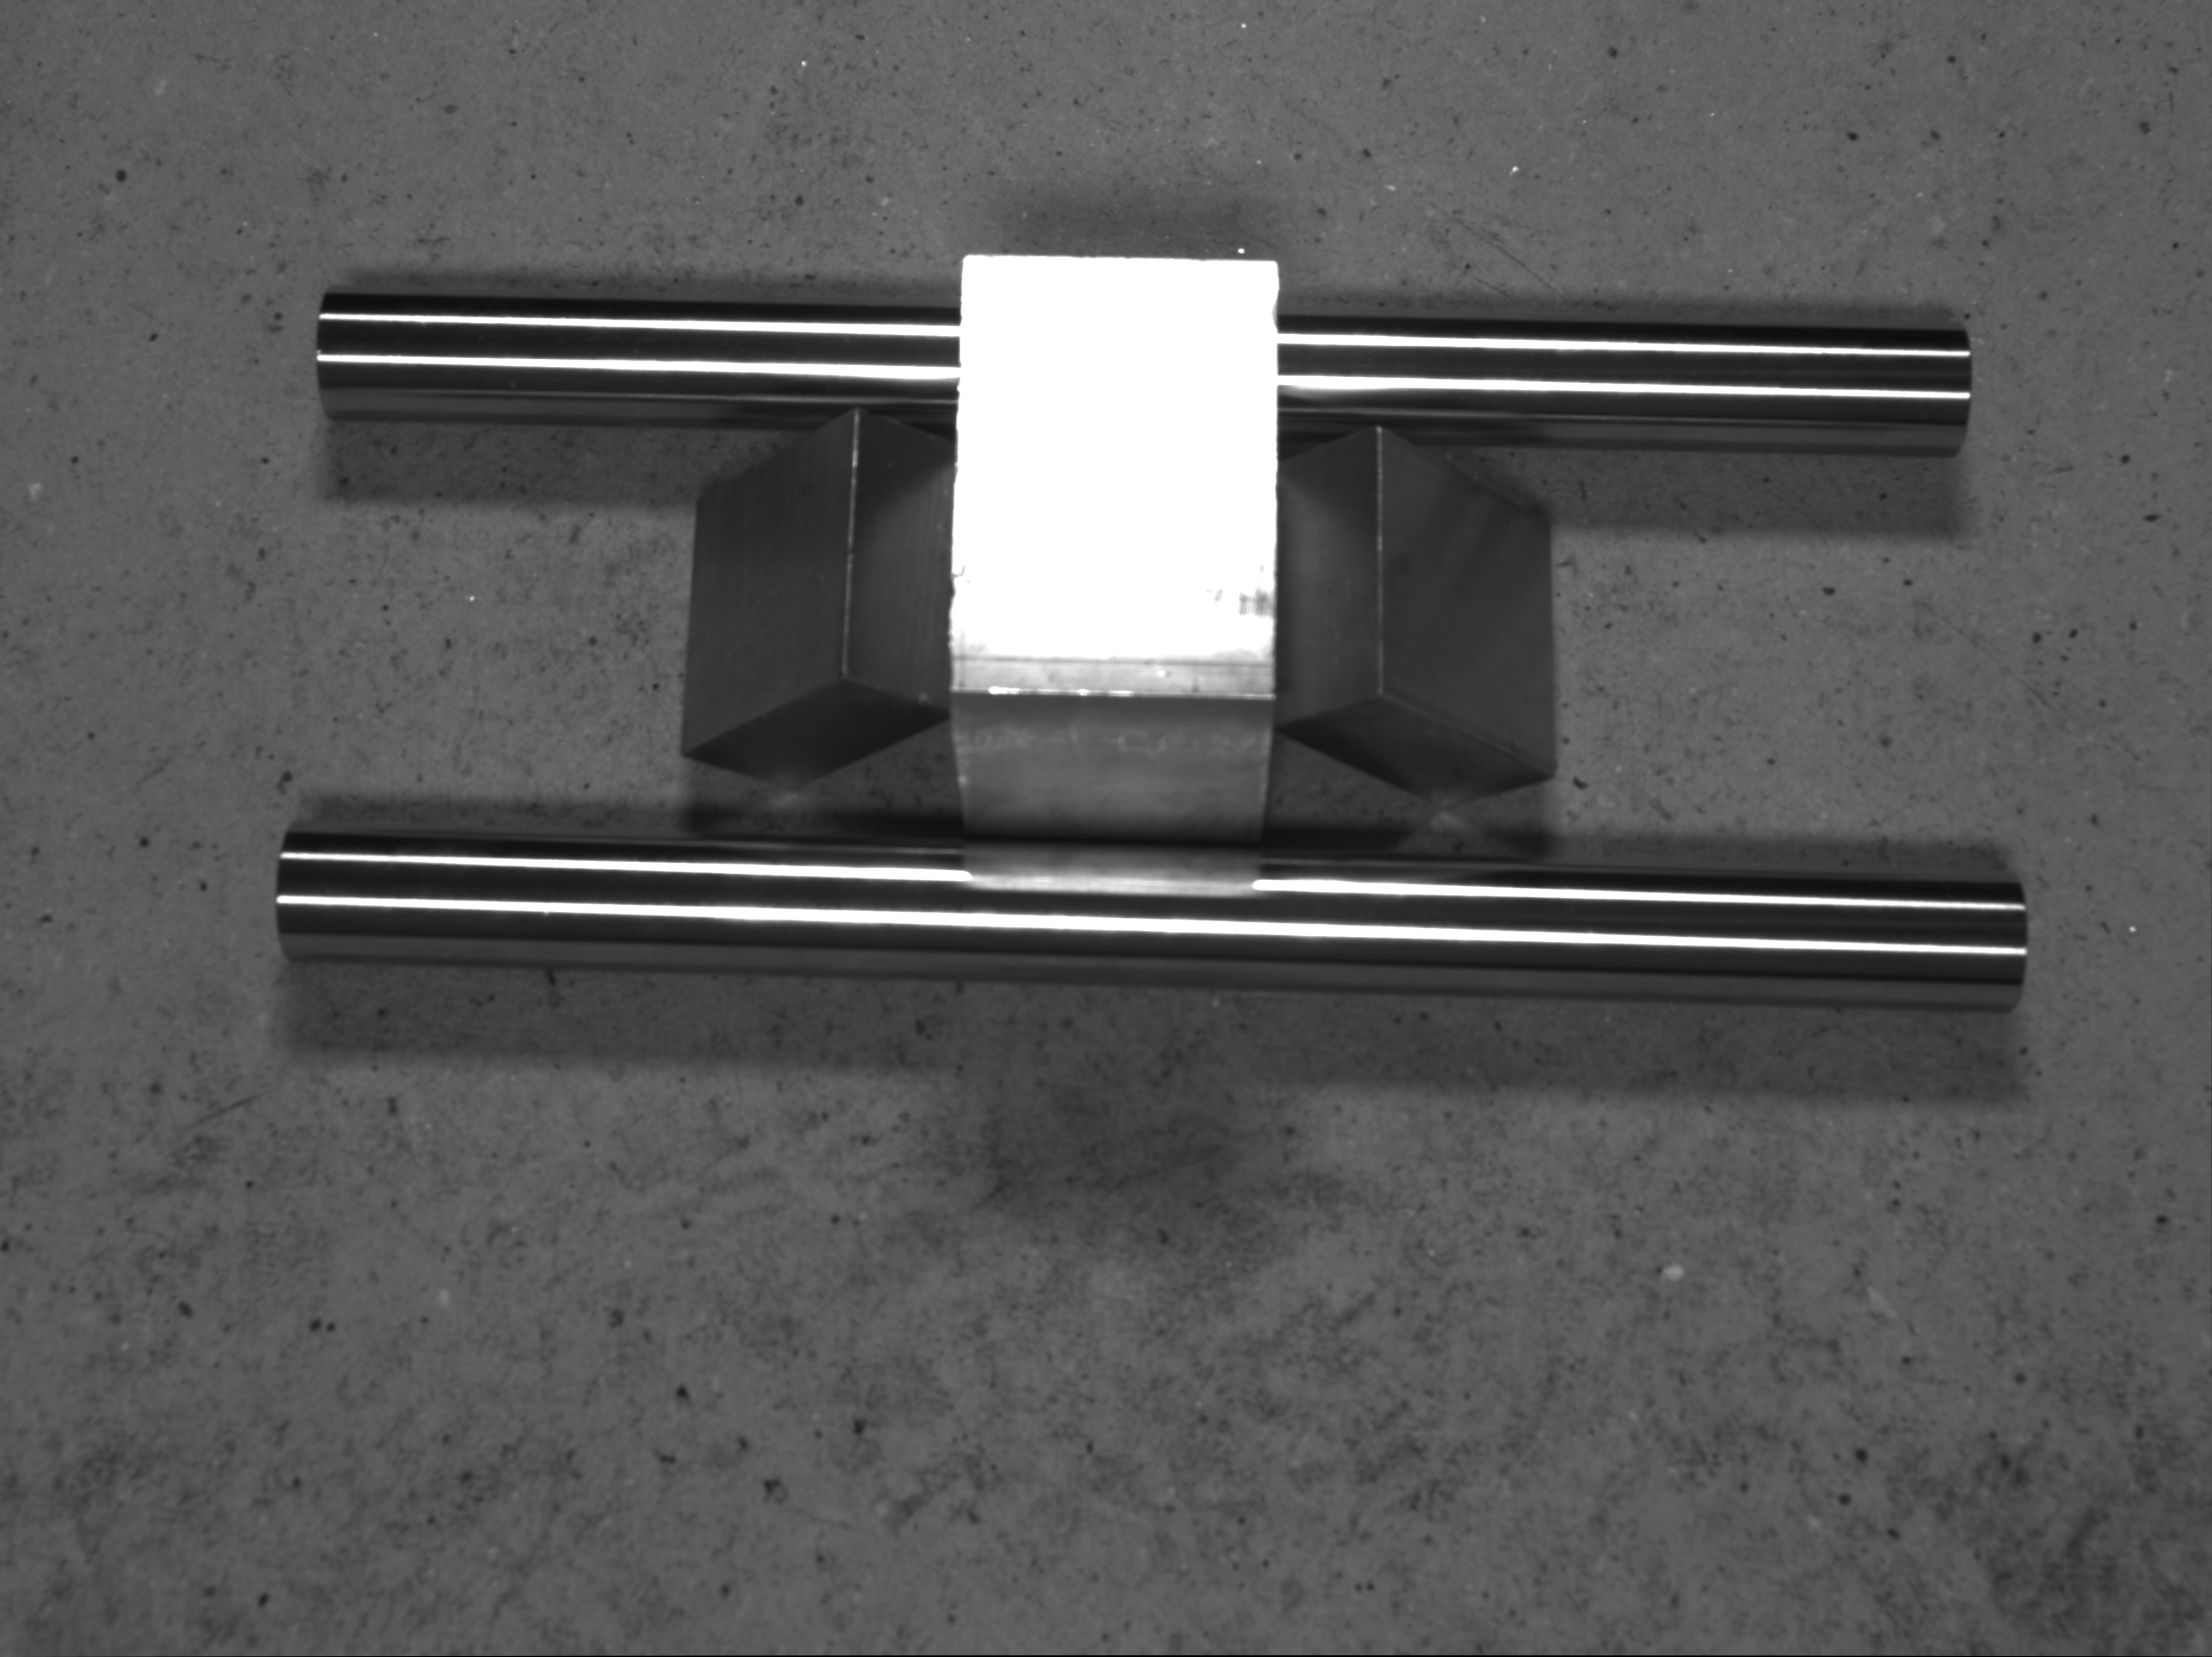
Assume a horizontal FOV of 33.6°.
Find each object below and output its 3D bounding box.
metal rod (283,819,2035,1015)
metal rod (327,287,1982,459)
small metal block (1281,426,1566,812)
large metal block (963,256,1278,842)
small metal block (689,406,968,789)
[{"bbox_3d":[0.009,0.015,0.639,0.300,0.025,0.025,2,70,1],"label":"metal rod"},{"bbox_3d":[0.009,-0.084,0.676,0.300,0.025,0.025,1,70,0],"label":"metal rod"},{"bbox_3d":[0.055,-0.036,0.644,0.025,0.050,0.050,-17,63,39],"label":"small metal block"},{"bbox_3d":[0.003,-0.044,0.634,0.050,0.080,0.080,1,70,0],"label":"large metal block"},{"bbox_3d":[-0.048,-0.040,0.645,0.025,0.050,0.050,16,65,-36],"label":"small metal block"}]
